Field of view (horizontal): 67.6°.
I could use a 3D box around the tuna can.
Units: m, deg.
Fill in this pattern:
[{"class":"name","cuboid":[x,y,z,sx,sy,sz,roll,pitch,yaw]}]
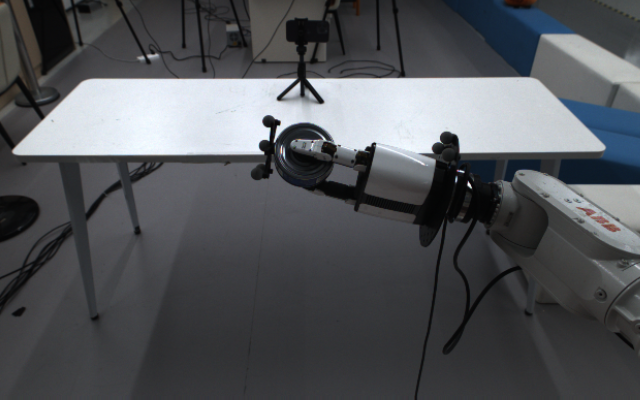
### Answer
[{"class":"tuna can","cuboid":[-0.020,-0.064,0.671,0.085,0.034,0.085,2,73,-5]}]
